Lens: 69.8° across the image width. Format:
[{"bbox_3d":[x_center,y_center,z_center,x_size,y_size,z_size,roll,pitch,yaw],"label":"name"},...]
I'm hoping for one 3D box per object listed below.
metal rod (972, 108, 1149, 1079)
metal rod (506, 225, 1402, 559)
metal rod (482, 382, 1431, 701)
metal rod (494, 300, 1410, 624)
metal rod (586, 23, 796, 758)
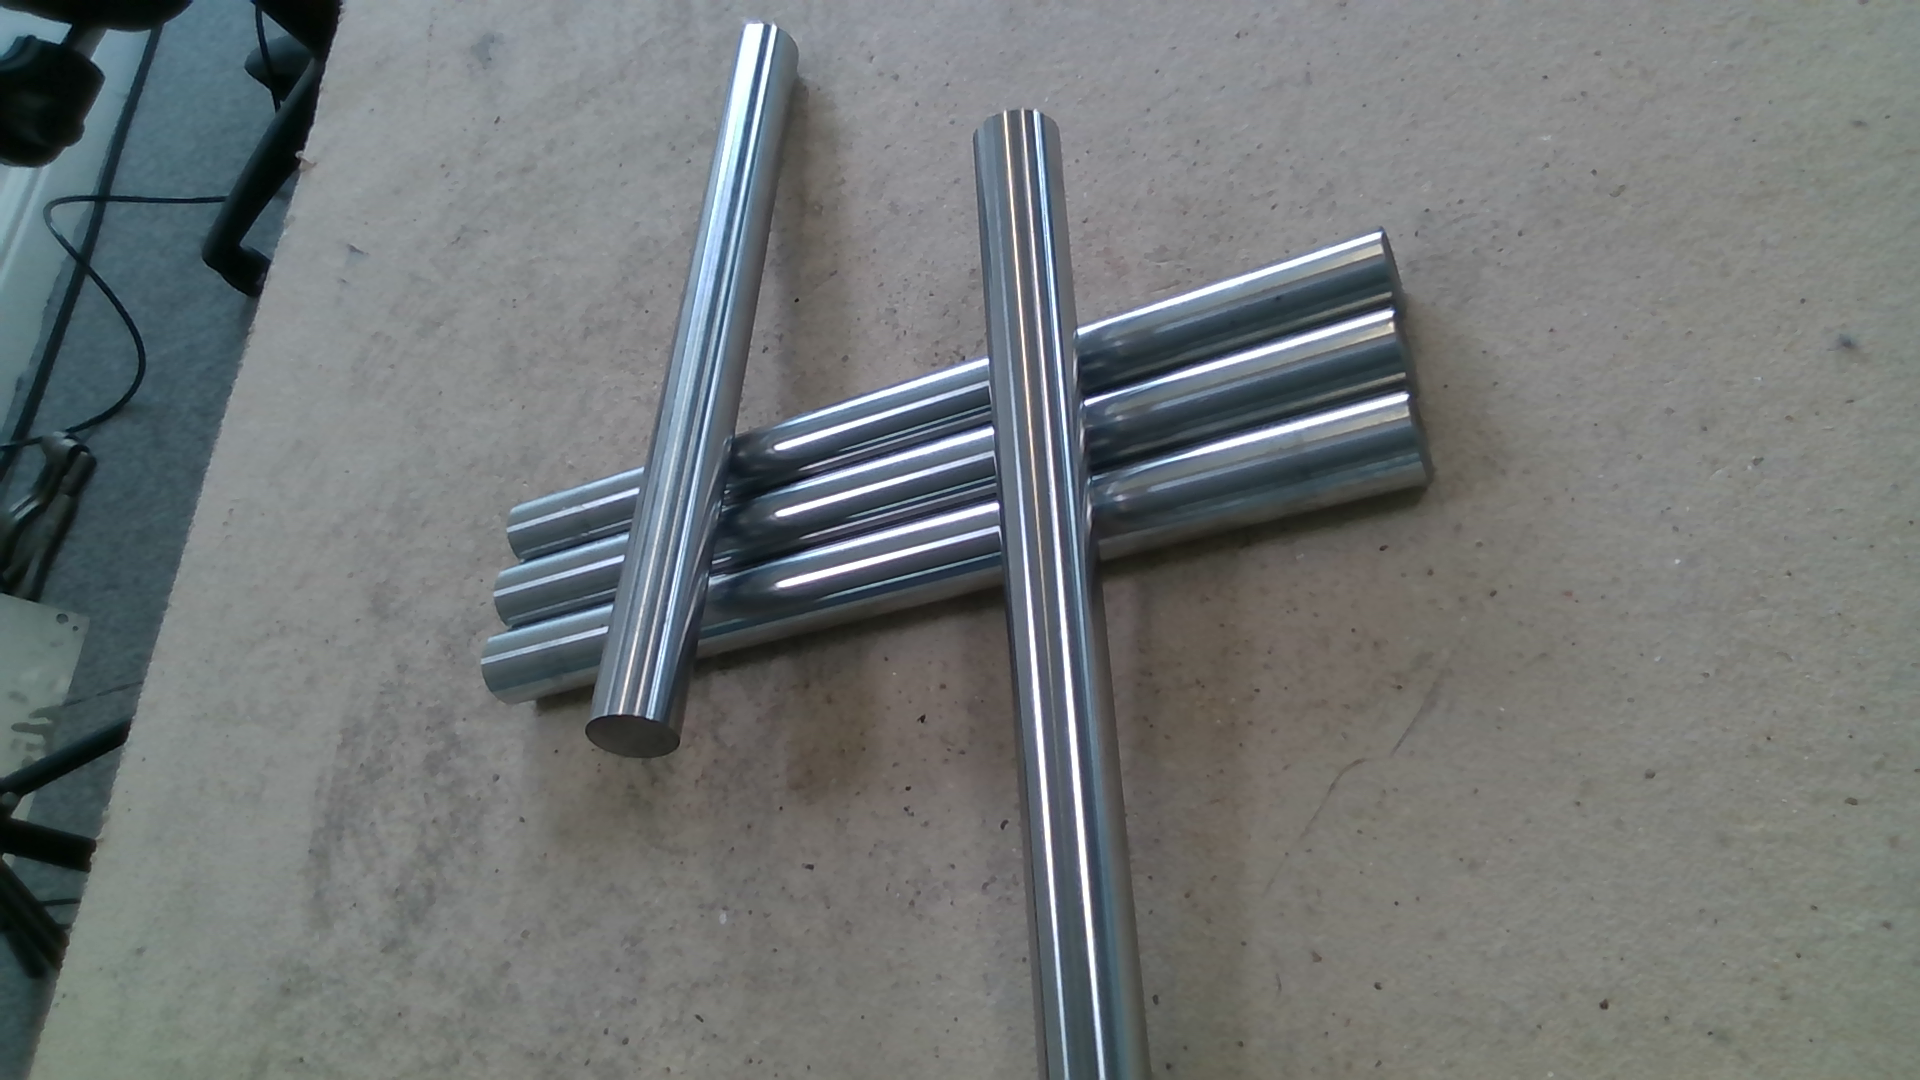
[{"bbox_3d":[0.024,0.024,0.341,0.025,0.025,0.299,-14,67,25],"label":"metal rod"},{"bbox_3d":[-0.019,-0.036,0.424,0.300,0.025,0.025,-15,59,25],"label":"metal rod"},{"bbox_3d":[-0.020,0.008,0.400,0.300,0.025,0.025,-15,59,25],"label":"metal rod"},{"bbox_3d":[-0.020,-0.014,0.412,0.300,0.025,0.025,-15,59,25],"label":"metal rod"},{"bbox_3d":[-0.082,-0.070,0.455,0.025,0.025,0.299,-16,51,24],"label":"metal rod"}]
